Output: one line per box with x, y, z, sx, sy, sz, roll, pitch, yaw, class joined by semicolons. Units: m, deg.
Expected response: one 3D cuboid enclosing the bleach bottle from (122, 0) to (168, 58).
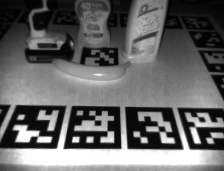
0.083;-0.185;0.537;0.103;0.252;0.067;-5;48;-7;bleach bottle

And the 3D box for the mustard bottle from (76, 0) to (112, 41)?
-0.047;-0.215;0.586;0.096;0.192;0.058;2;46;-2;mustard bottle

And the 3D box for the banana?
-0.046;-0.061;0.541;0.197;0.039;0.074;3;50;1;banana

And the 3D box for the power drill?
-0.149;-0.188;0.526;0.185;0.188;0.057;1;39;-6;power drill
